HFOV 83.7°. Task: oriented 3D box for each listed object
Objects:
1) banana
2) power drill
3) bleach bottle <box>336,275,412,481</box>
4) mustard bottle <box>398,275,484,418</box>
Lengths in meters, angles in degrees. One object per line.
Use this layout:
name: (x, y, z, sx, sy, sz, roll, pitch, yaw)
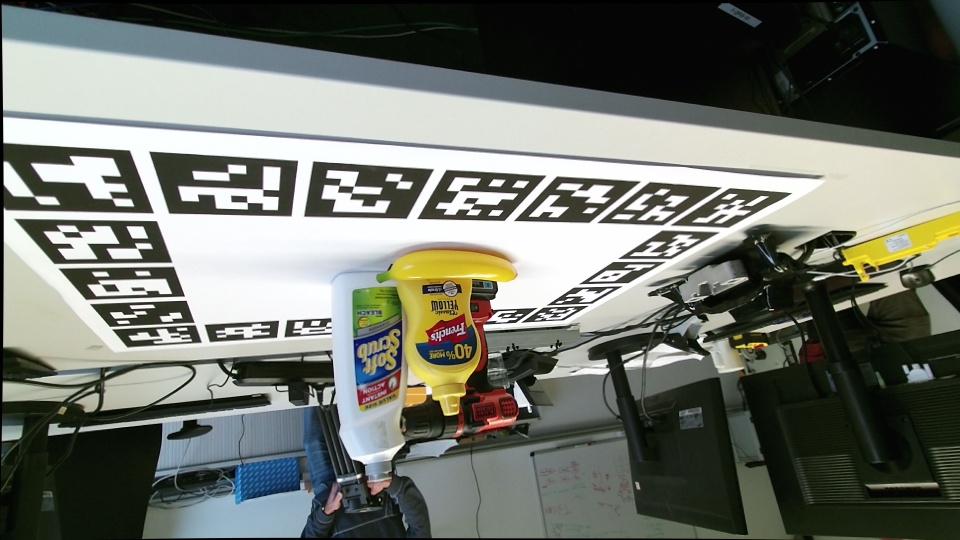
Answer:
banana: (-0.031, -0.003, 0.683, 0.198, 0.038, 0.074, -1, 155, -28)
power drill: (-0.029, 0.134, 0.738, 0.185, 0.186, 0.057, 6, 154, -33)
bleach bottle: (-0.126, 0.133, 0.682, 0.103, 0.249, 0.068, 0, 162, -25)
mustard bottle: (-0.045, 0.087, 0.669, 0.096, 0.190, 0.058, 0, 156, -23)
